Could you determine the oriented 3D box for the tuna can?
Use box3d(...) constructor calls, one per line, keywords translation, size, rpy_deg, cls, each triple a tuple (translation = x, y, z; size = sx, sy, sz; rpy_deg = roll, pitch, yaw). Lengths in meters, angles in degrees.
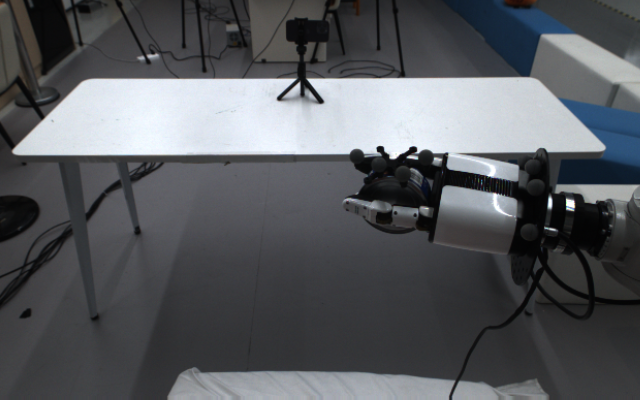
box3d(translation=(0.093, -0.003, 0.587), size=(0.085, 0.085, 0.034), rpy_deg=(12, 39, 13), cls="tuna can")
